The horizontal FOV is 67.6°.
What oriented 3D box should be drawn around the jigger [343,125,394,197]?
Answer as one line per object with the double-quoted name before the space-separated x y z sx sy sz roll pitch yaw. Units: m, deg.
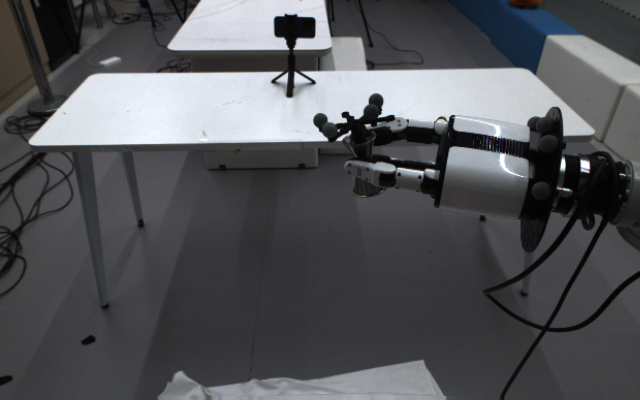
"jigger" 0.054 -0.043 0.574 0.043 0.071 0.043 -12 29 7
